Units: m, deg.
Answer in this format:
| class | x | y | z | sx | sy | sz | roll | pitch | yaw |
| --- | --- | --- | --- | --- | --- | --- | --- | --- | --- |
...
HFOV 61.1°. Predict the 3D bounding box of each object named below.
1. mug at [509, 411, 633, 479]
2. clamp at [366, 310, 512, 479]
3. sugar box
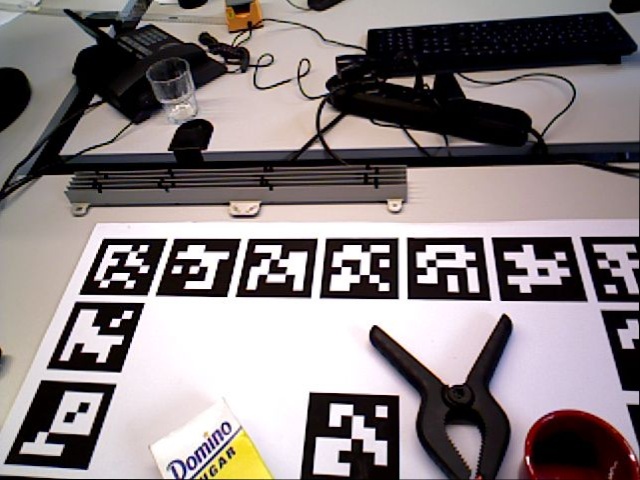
| class | x | y | z | sx | sy | sz | roll | pitch | yaw |
| --- | --- | --- | --- | --- | --- | --- | --- | --- | --- |
| mug | 0.223 | 0.224 | 0.484 | 0.092 | 0.083 | 0.116 | -21 | 48 | -9 |
| clamp | 0.144 | 0.172 | 0.576 | 0.165 | 0.037 | 0.200 | -8 | 52 | 2 |
| sugar box | -0.089 | 0.246 | 0.526 | 0.091 | 0.046 | 0.176 | -29 | 47 | -15 |
